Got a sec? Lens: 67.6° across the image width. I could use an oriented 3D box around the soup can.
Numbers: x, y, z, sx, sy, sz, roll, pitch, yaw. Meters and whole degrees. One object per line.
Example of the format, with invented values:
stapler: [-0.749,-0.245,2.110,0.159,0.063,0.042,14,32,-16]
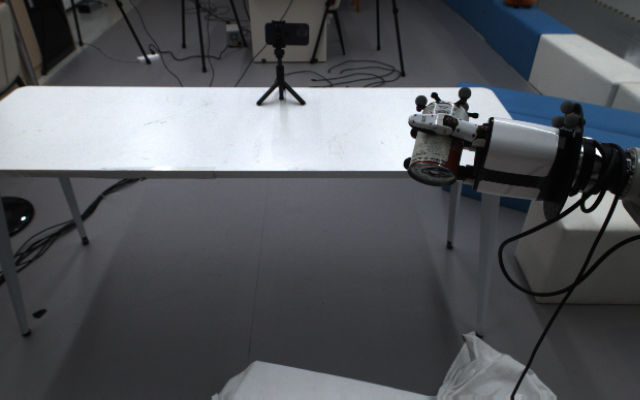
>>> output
soup can: [0.167,-0.081,0.684,0.067,0.067,0.101,12,71,14]
